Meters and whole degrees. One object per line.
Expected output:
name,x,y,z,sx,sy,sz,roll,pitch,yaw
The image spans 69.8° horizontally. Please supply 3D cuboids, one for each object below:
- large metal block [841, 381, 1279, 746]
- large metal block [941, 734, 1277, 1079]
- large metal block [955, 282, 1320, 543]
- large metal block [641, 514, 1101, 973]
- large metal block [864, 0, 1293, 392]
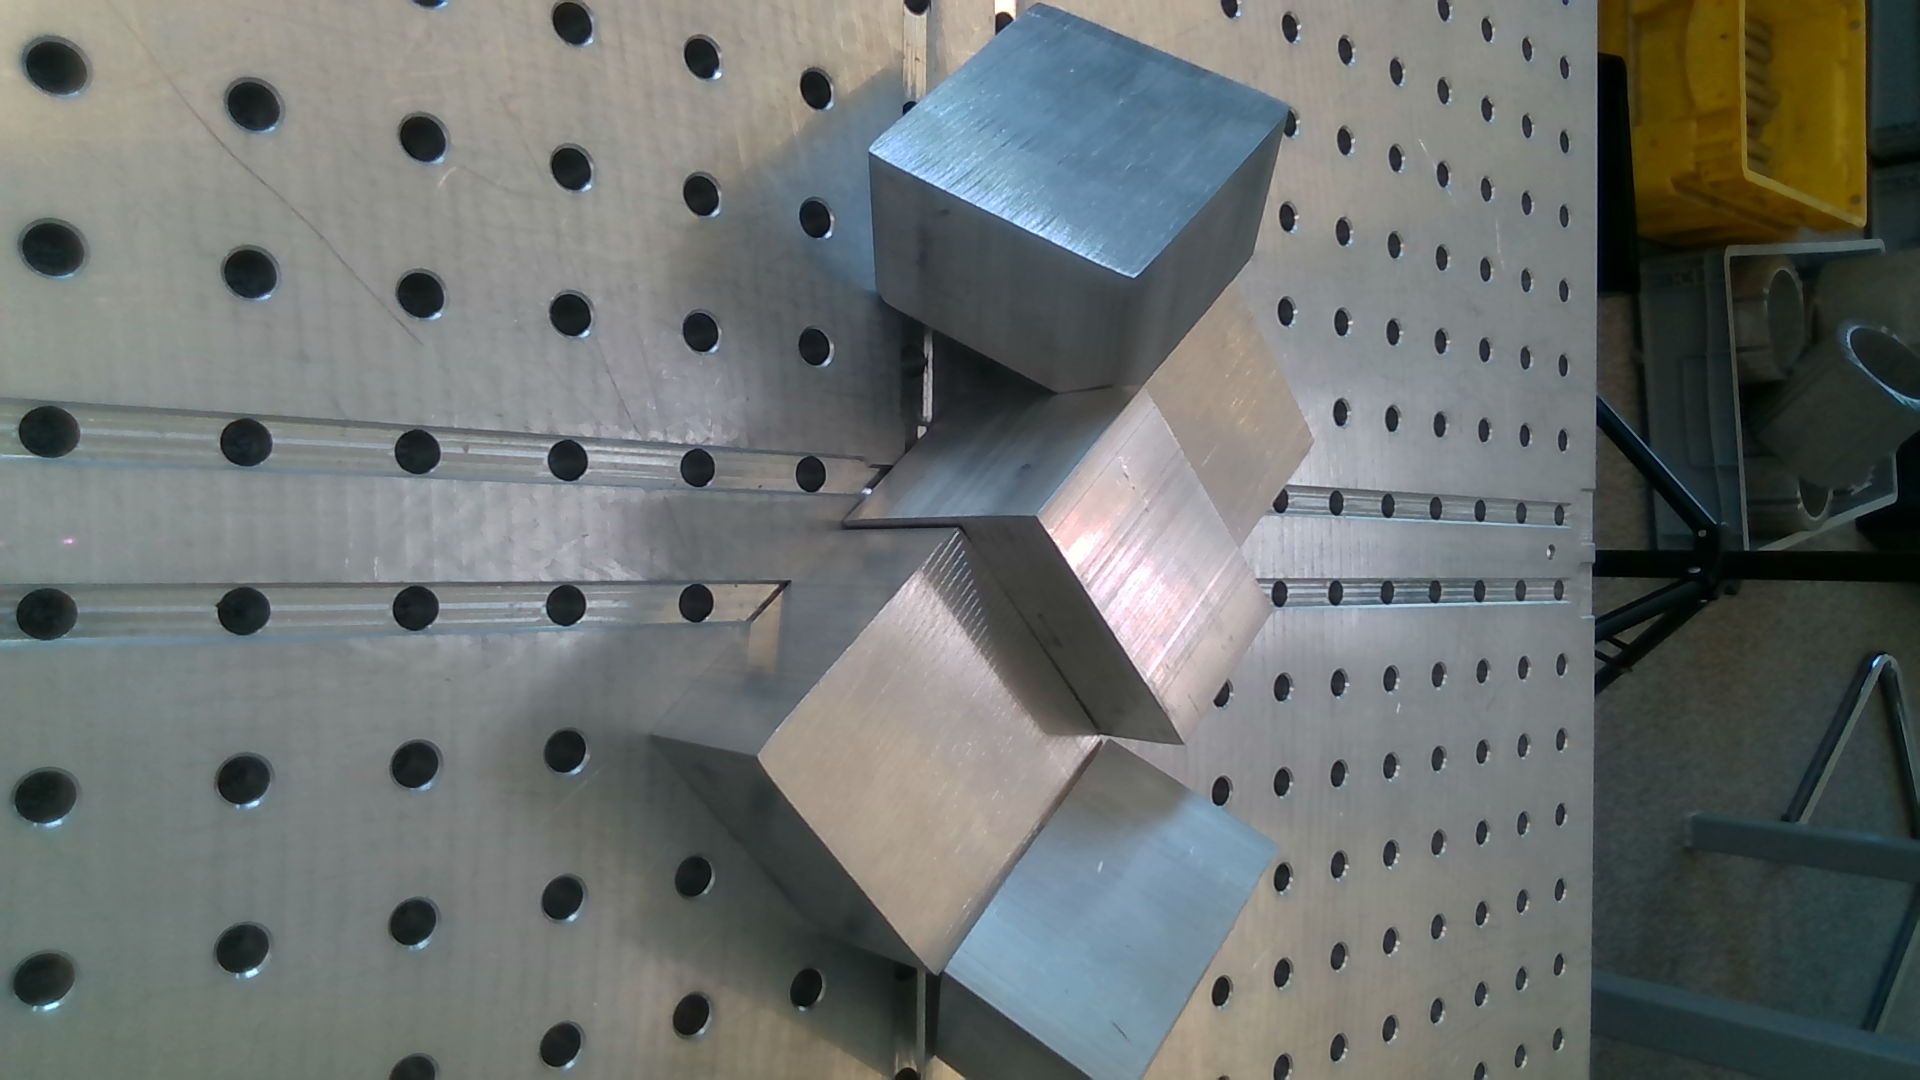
large metal block,0.027,0.006,0.380,0.050,0.080,0.080,-49,119,-27
large metal block,0.039,0.114,0.383,0.080,0.050,0.080,-49,159,-29
large metal block,0.055,-0.036,0.424,0.080,0.050,0.080,-49,118,-28
large metal block,-0.020,0.050,0.360,0.080,0.050,0.080,-50,119,-30
large metal block,0.031,-0.092,0.374,0.080,0.080,0.050,-49,158,-29
